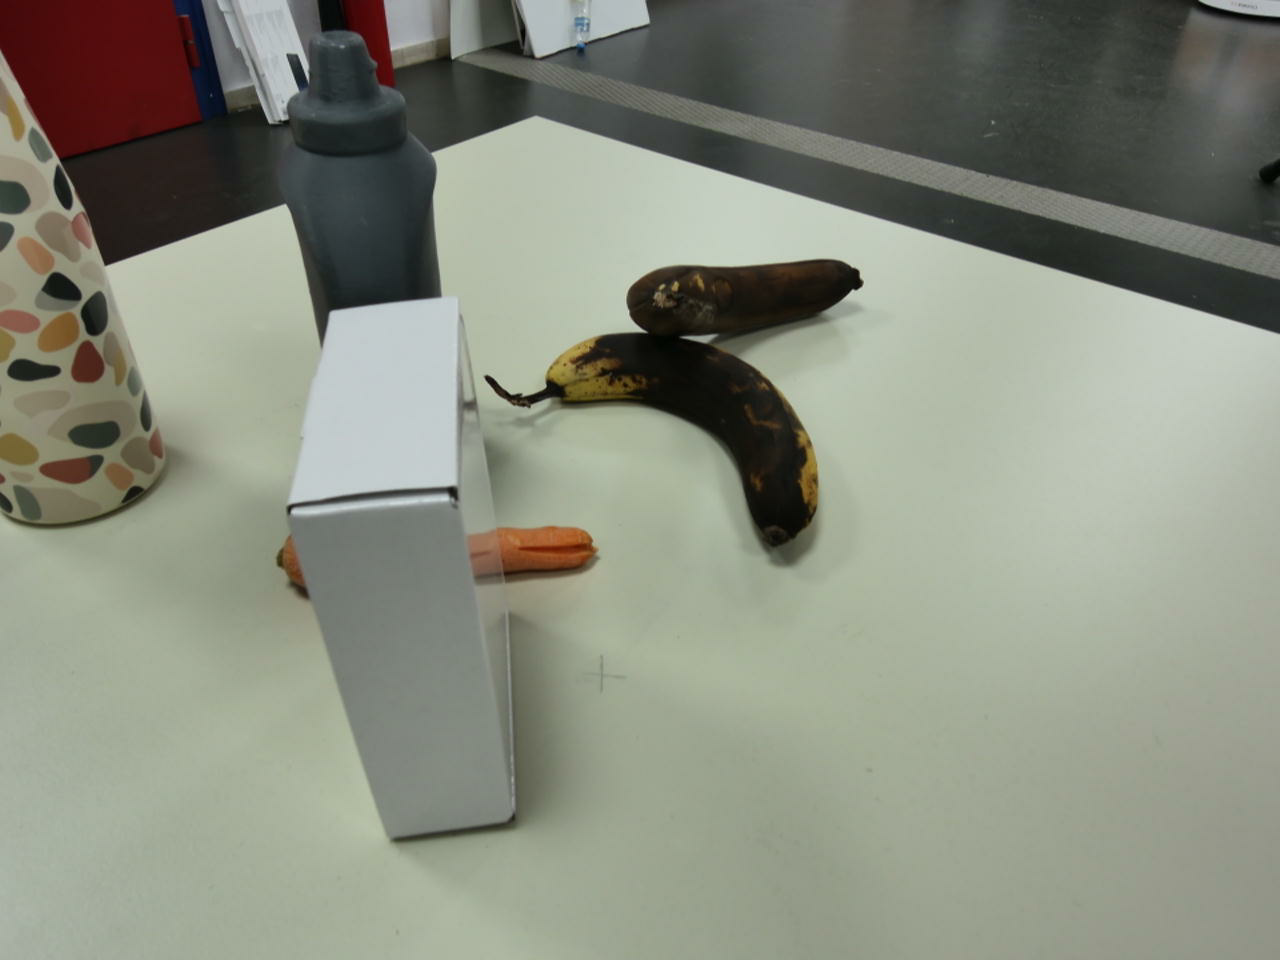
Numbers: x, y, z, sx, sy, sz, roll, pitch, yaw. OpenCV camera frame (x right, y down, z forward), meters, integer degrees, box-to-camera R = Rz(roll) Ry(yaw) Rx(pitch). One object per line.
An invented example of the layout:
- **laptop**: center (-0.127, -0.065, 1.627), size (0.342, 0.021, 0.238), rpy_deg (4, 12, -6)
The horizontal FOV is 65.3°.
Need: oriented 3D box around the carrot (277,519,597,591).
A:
- **carrot**: center (-0.086, 0.030, 0.435), size (0.136, 0.032, 0.030), rpy_deg (-4, 36, -5)
